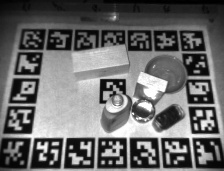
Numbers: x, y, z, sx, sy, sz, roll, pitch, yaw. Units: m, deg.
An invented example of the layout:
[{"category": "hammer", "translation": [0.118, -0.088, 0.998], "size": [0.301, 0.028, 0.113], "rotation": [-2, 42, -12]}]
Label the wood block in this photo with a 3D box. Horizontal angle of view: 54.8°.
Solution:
[{"category": "wood block", "translation": [-0.046, -0.077, 0.823], "size": [0.207, 0.090, 0.090], "rotation": [-10, 75, -5]}]

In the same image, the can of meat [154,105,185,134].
[{"category": "can of meat", "translation": [0.200, 0.120, 0.758], "size": [0.102, 0.084, 0.057], "rotation": [-30, 69, -12]}]

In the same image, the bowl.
[{"category": "bowl", "translation": [0.214, -0.035, 0.825], "size": [0.161, 0.055, 0.161], "rotation": [-1, 70, 3]}]

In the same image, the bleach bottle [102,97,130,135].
[{"category": "bleach bottle", "translation": [0.013, 0.093, 0.674], "size": [0.103, 0.252, 0.067], "rotation": [-26, 70, -8]}]

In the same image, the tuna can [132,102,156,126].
[{"category": "tuna can", "translation": [0.114, 0.105, 0.783], "size": [0.086, 0.034, 0.085], "rotation": [0, 73, 0]}]

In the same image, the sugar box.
[{"category": "sugar box", "translation": [0.134, 0.022, 0.737], "size": [0.092, 0.177, 0.045], "rotation": [18, 73, 11]}]
